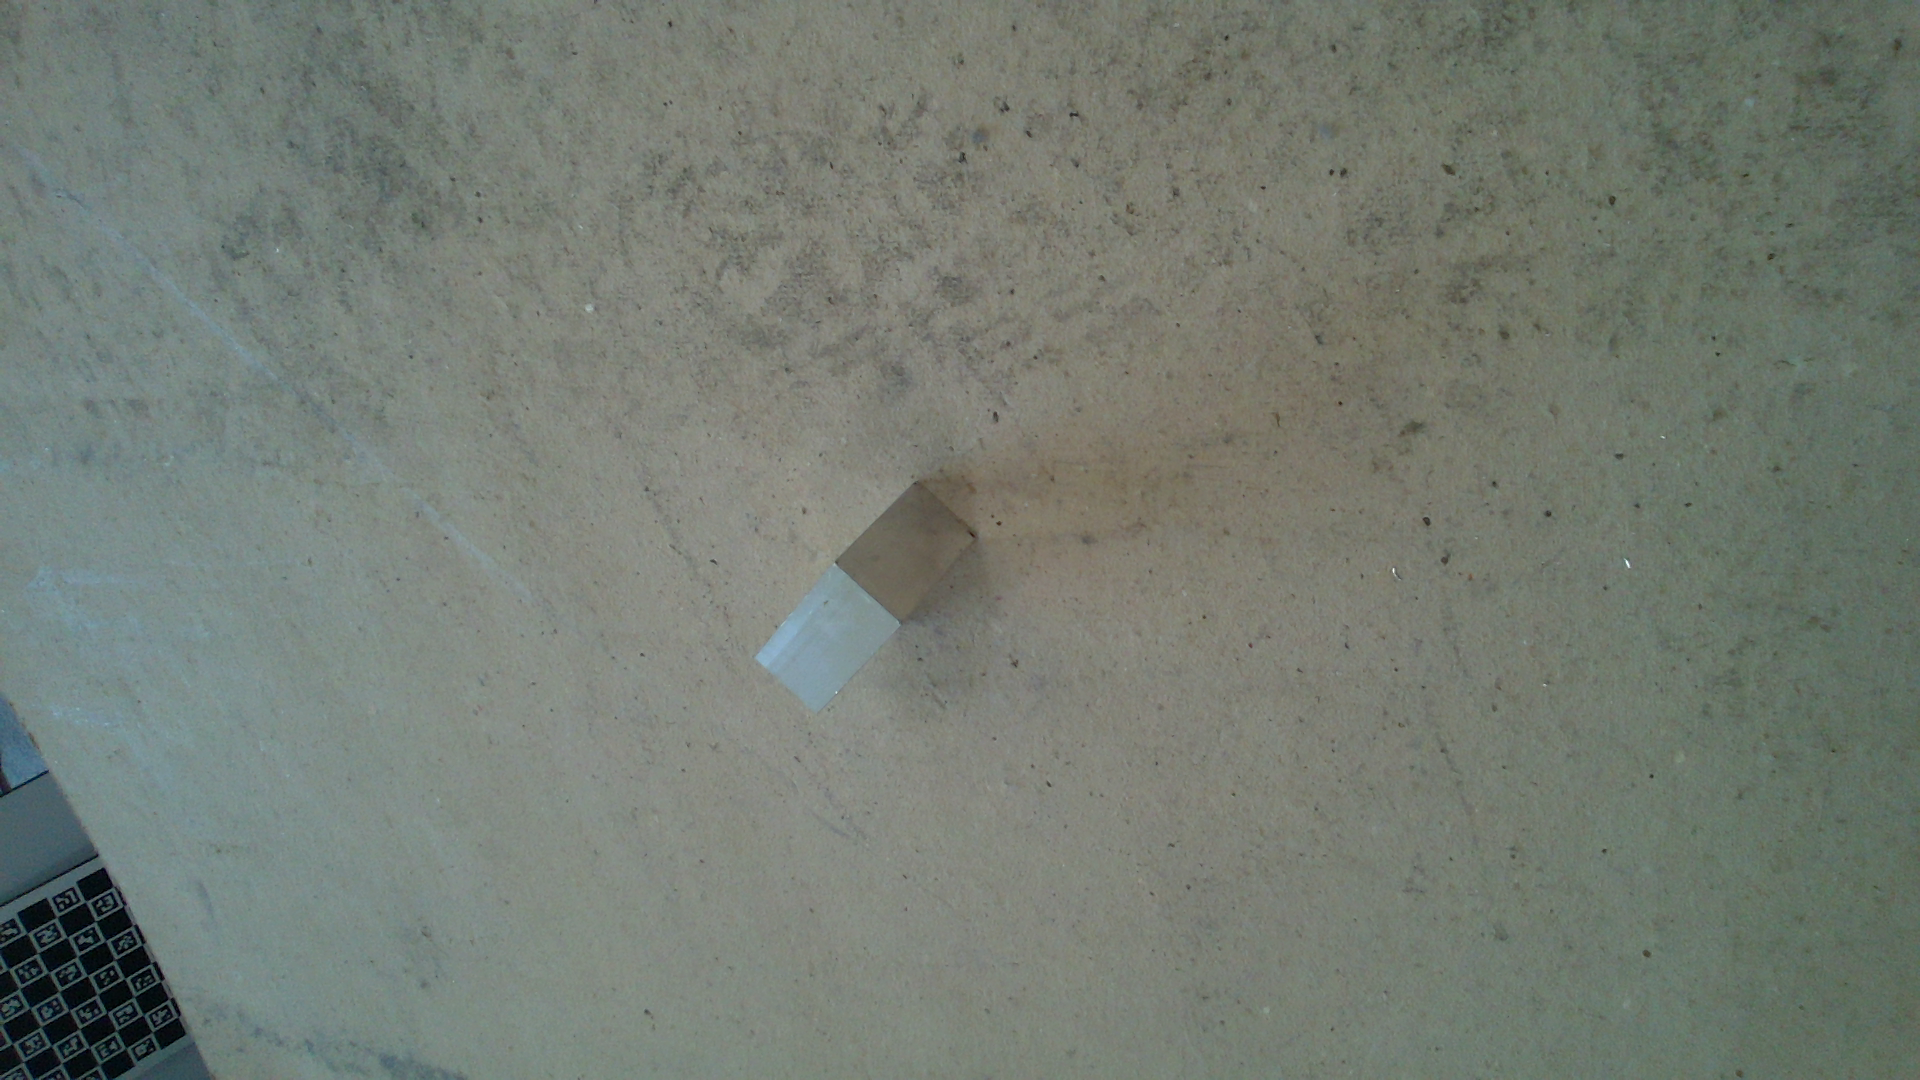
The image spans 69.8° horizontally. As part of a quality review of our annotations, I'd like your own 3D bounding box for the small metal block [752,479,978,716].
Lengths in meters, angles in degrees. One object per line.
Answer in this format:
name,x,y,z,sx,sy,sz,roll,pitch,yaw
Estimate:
small metal block,-0.027,0.017,0.402,0.025,0.050,0.050,42,129,-1
